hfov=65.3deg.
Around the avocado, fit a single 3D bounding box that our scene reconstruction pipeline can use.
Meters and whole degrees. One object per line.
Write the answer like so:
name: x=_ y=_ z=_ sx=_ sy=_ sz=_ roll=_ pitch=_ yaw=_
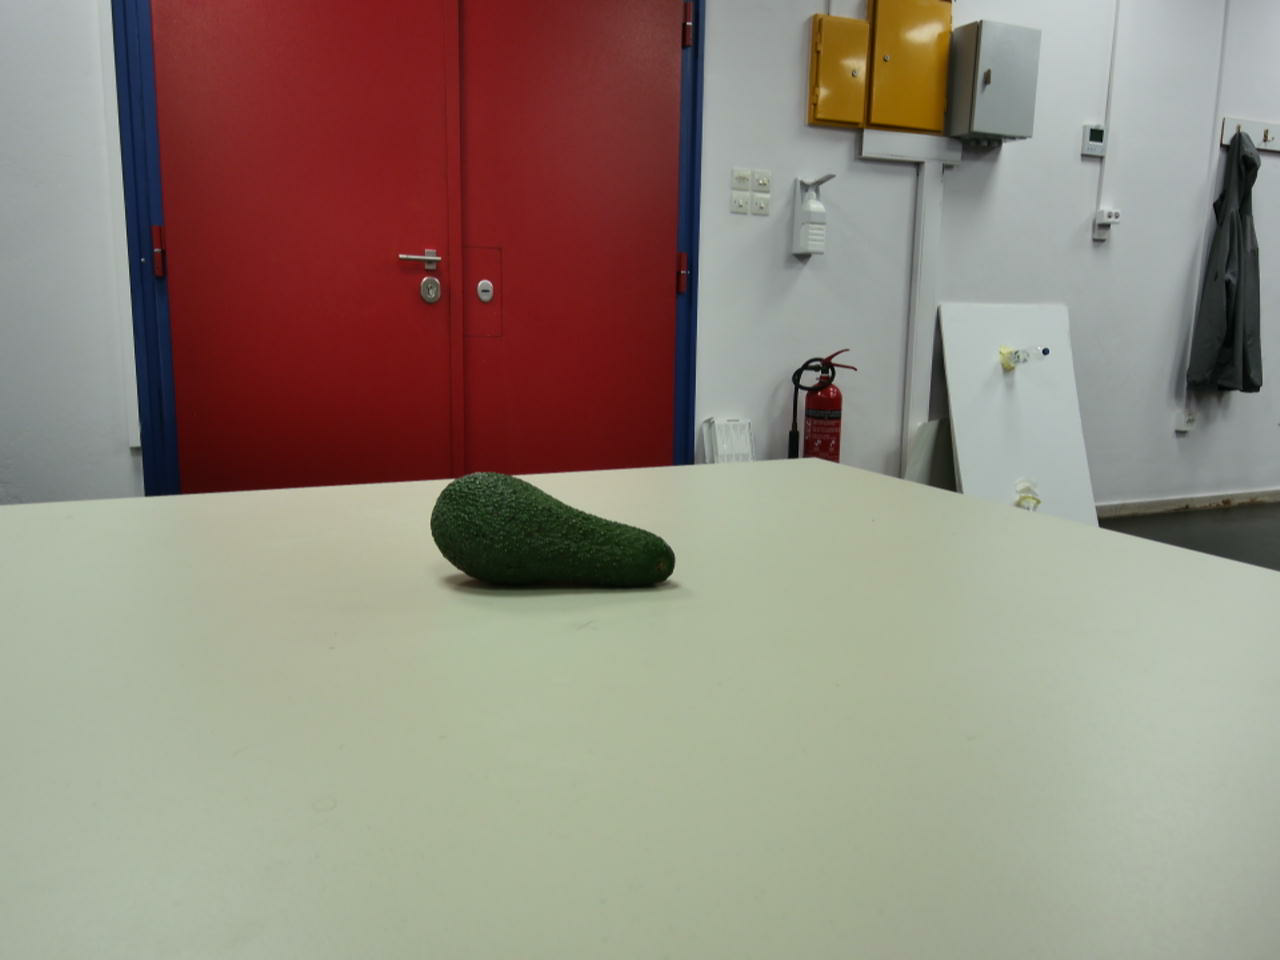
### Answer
avocado: x=-0.051 y=0.028 z=0.587 sx=0.141 sy=0.067 sz=0.063 roll=-2 pitch=8 yaw=-9
